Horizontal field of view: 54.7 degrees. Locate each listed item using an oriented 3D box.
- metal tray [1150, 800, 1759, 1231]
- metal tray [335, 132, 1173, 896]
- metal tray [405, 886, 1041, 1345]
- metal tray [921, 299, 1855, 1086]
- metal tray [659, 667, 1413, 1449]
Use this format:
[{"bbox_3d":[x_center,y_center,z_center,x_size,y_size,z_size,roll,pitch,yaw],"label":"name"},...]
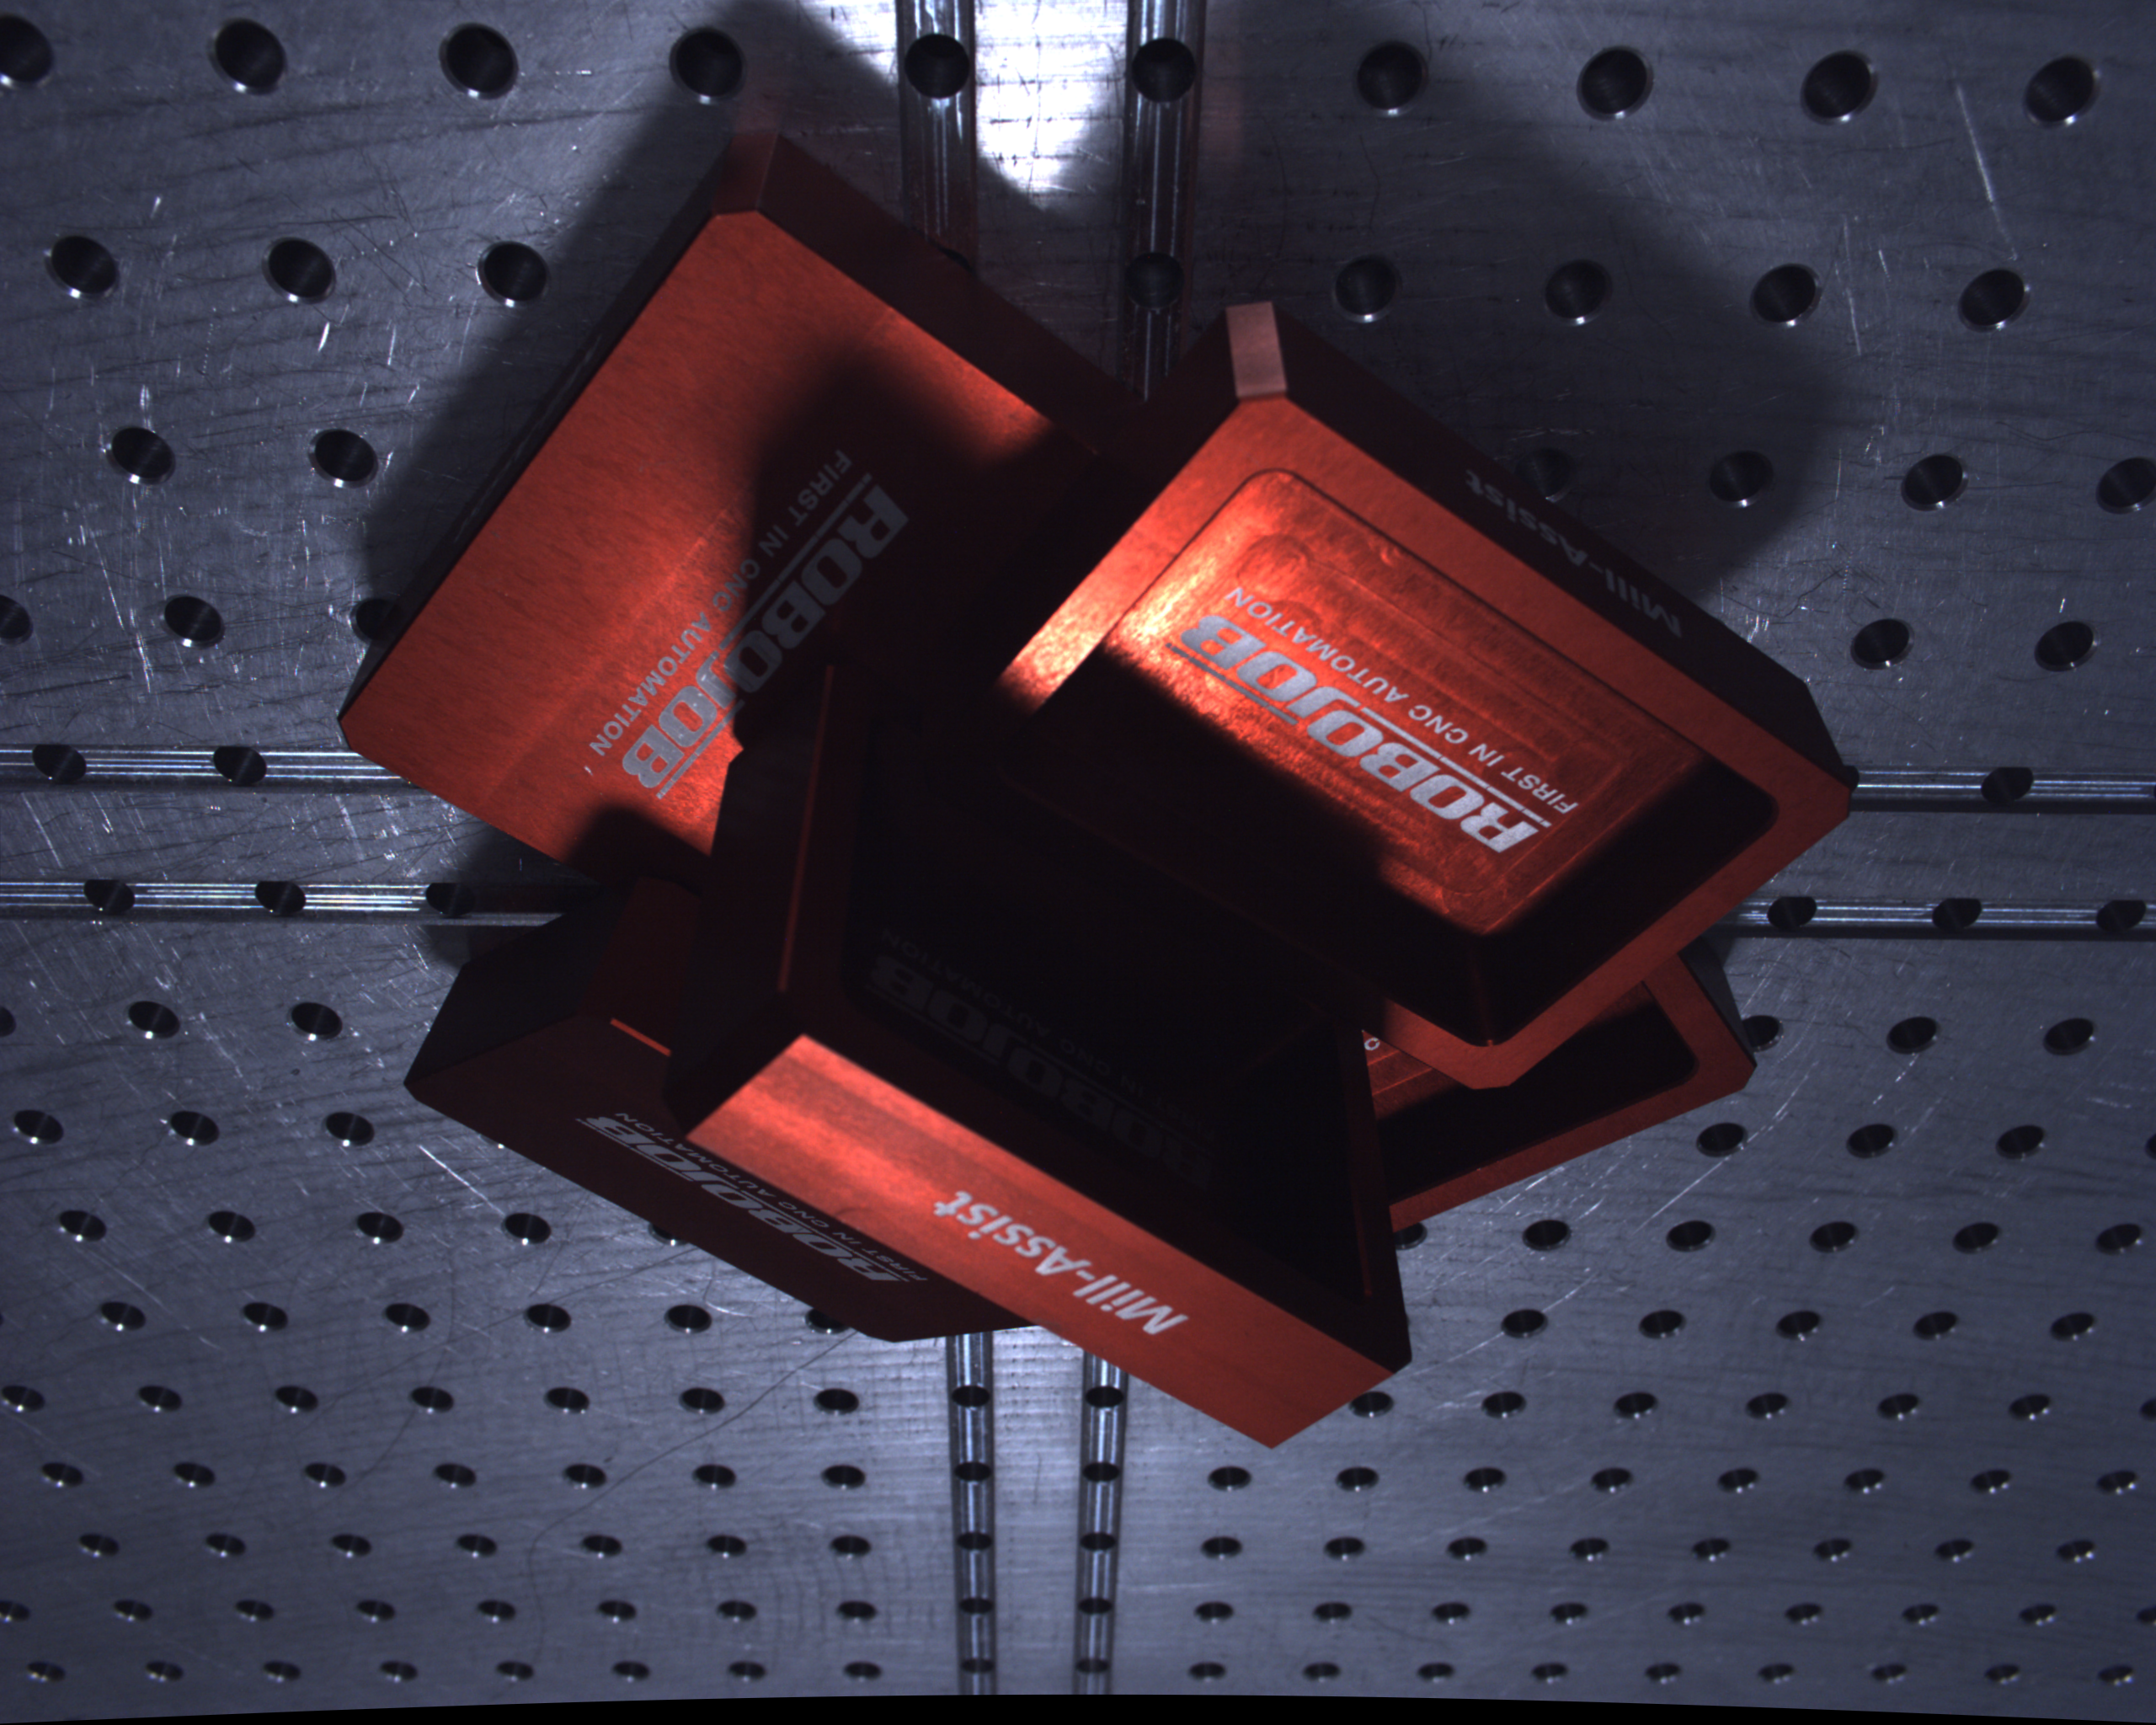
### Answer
[{"bbox_3d":[0.063,0.036,0.438,0.130,0.030,0.090,-27,126,20],"label":"metal tray"},{"bbox_3d":[-0.057,-0.048,0.365,0.090,0.030,0.129,32,123,-25],"label":"metal tray"},{"bbox_3d":[-0.061,0.058,0.433,0.130,0.030,0.090,35,147,-26],"label":"metal tray"},{"bbox_3d":[0.051,-0.022,0.351,0.131,0.030,0.090,29,124,-23],"label":"metal tray"},{"bbox_3d":[-0.003,0.033,0.357,0.130,0.090,0.030,33,122,-25],"label":"metal tray"}]
